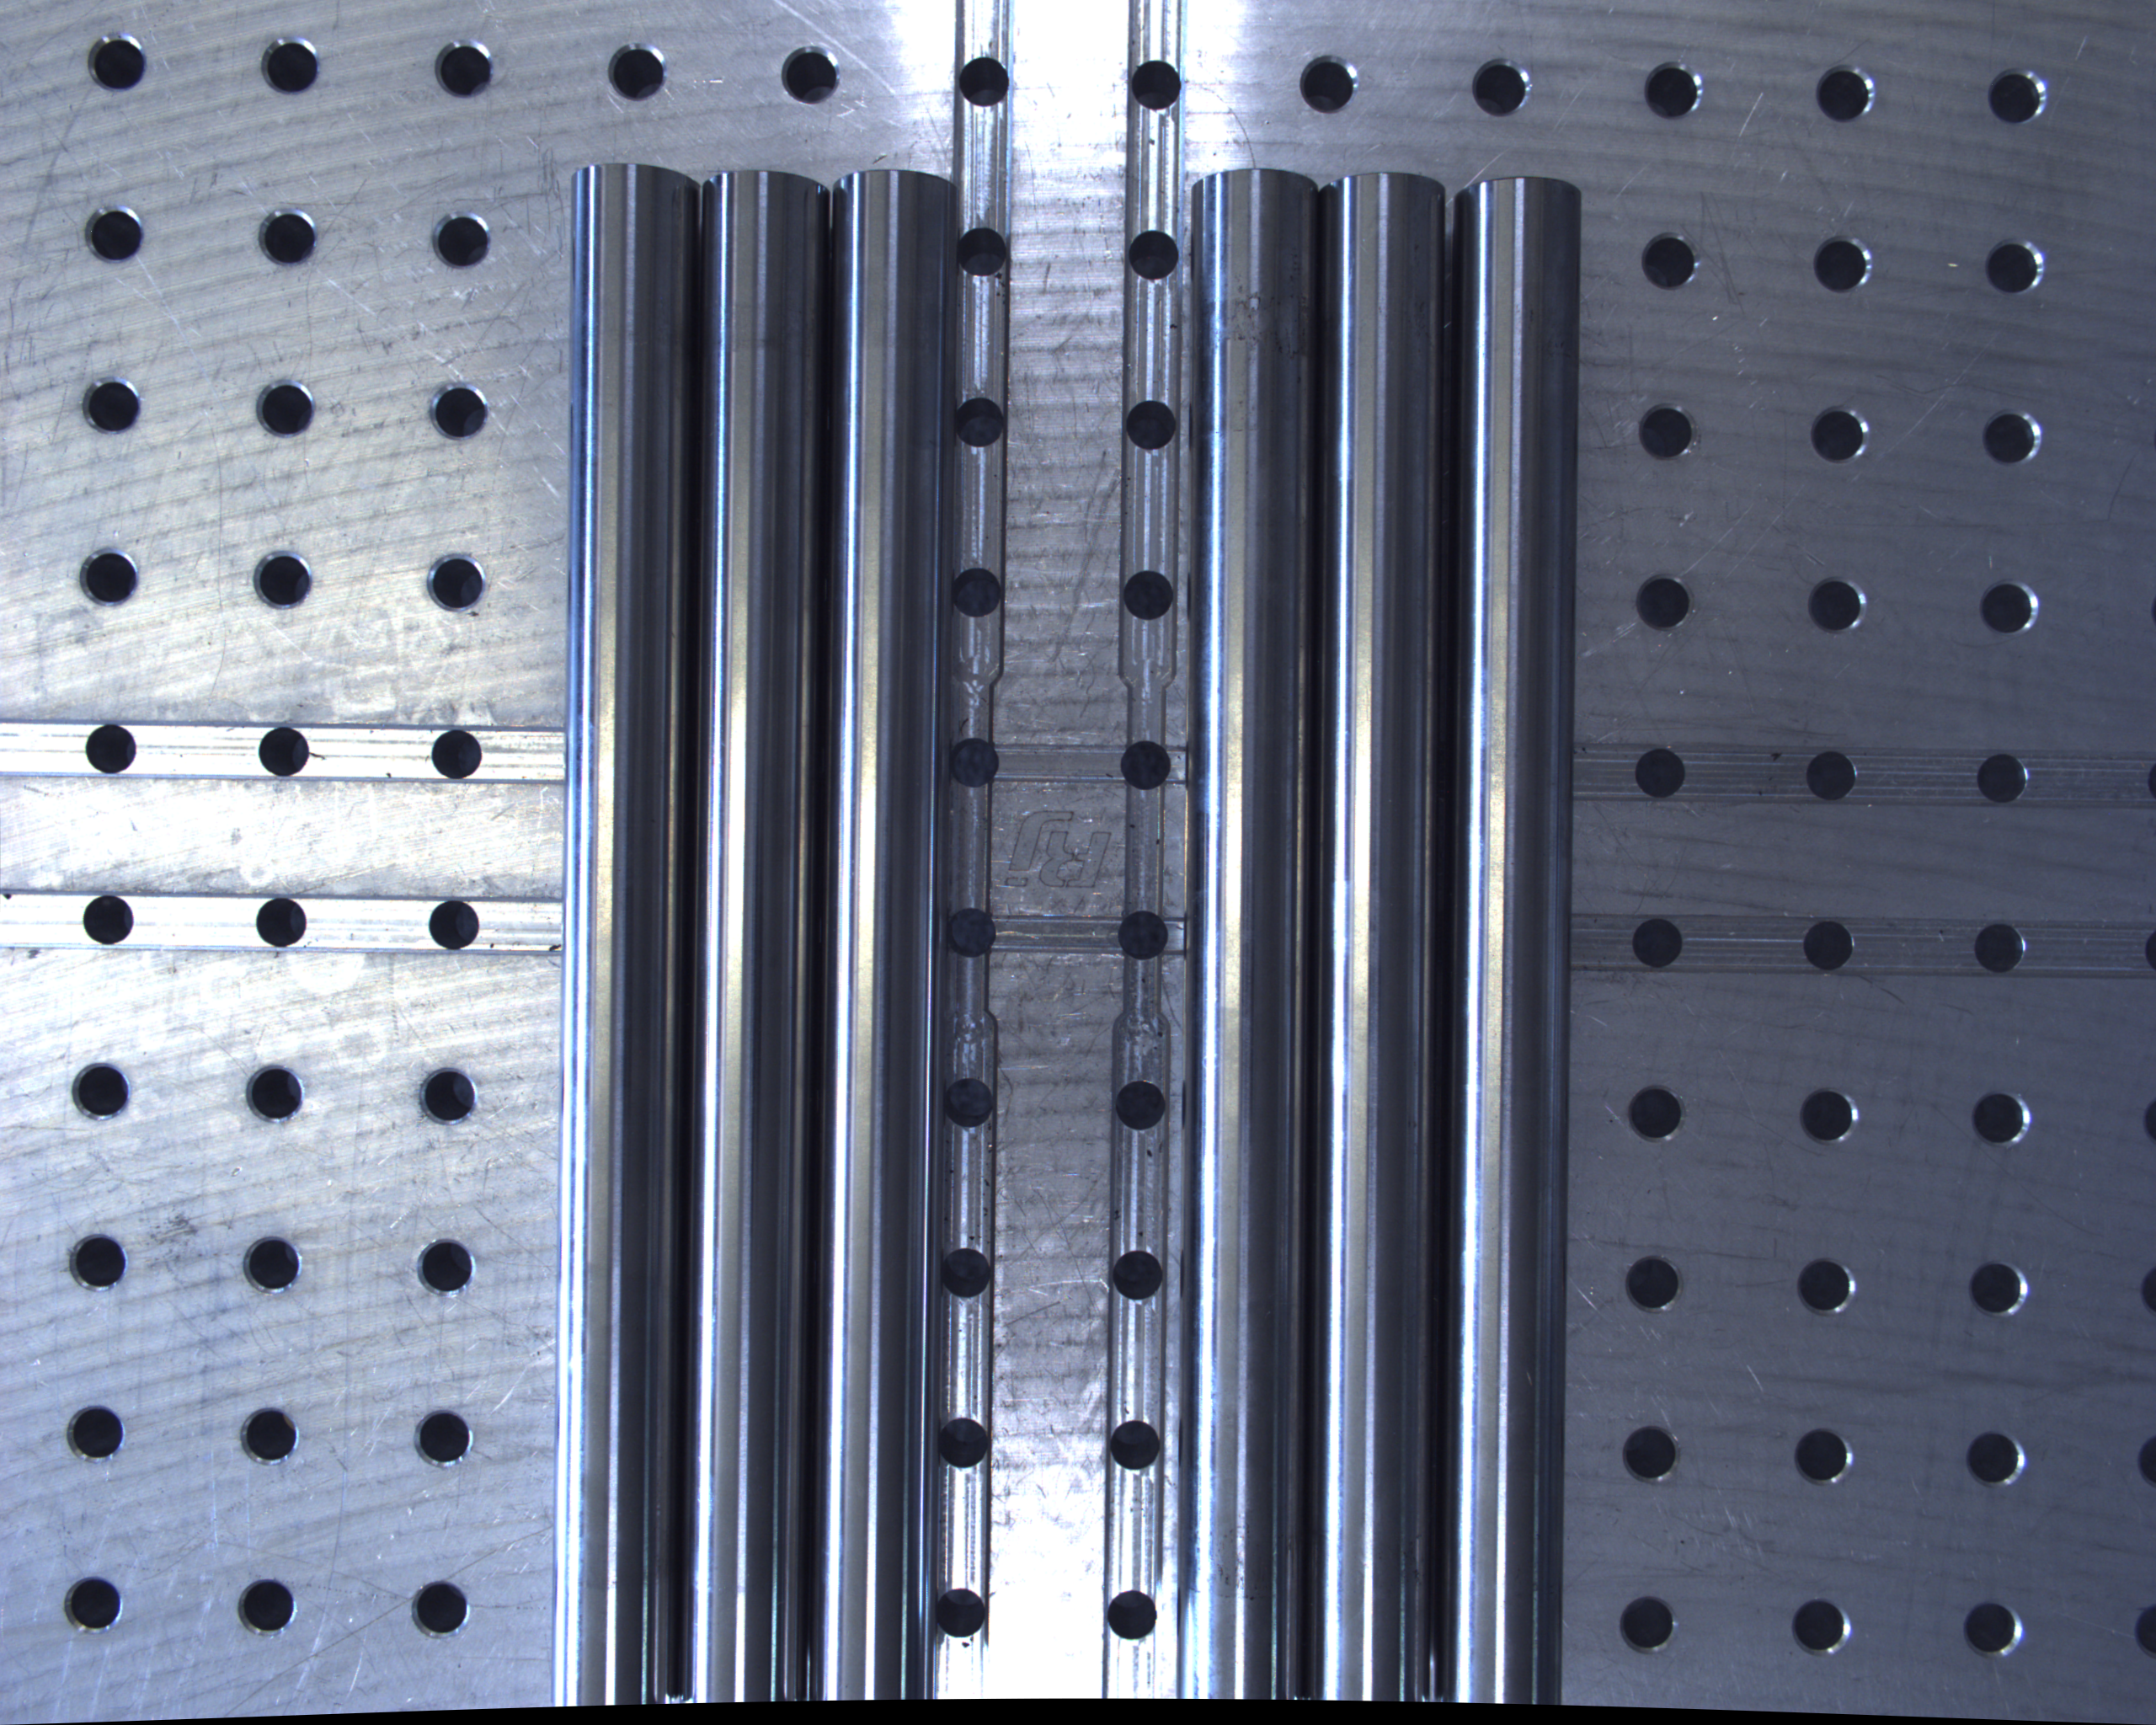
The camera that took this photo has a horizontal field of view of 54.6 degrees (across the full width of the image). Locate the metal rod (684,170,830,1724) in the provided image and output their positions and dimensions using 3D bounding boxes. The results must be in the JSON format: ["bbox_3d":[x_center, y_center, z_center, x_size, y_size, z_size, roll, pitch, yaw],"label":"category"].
[{"bbox_3d":[-0.063,0.017,0.412,0.025,0.025,0.298,1,90,0],"label":"metal rod"}]

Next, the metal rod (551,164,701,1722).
[{"bbox_3d":[-0.089,0.015,0.412,0.025,0.025,0.298,1,90,0],"label":"metal rod"}]

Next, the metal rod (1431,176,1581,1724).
[{"bbox_3d":[0.085,0.017,0.413,0.025,0.025,0.298,1,90,0],"label":"metal rod"}]

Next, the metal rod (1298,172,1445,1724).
[{"bbox_3d":[0.058,0.017,0.413,0.025,0.025,0.298,1,90,0],"label":"metal rod"}]

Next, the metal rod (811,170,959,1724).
[{"bbox_3d":[-0.038,0.016,0.413,0.025,0.025,0.298,1,90,0],"label":"metal rod"}]

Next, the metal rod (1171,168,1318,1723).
[{"bbox_3d":[0.033,0.016,0.413,0.025,0.025,0.298,1,90,0],"label":"metal rod"}]
